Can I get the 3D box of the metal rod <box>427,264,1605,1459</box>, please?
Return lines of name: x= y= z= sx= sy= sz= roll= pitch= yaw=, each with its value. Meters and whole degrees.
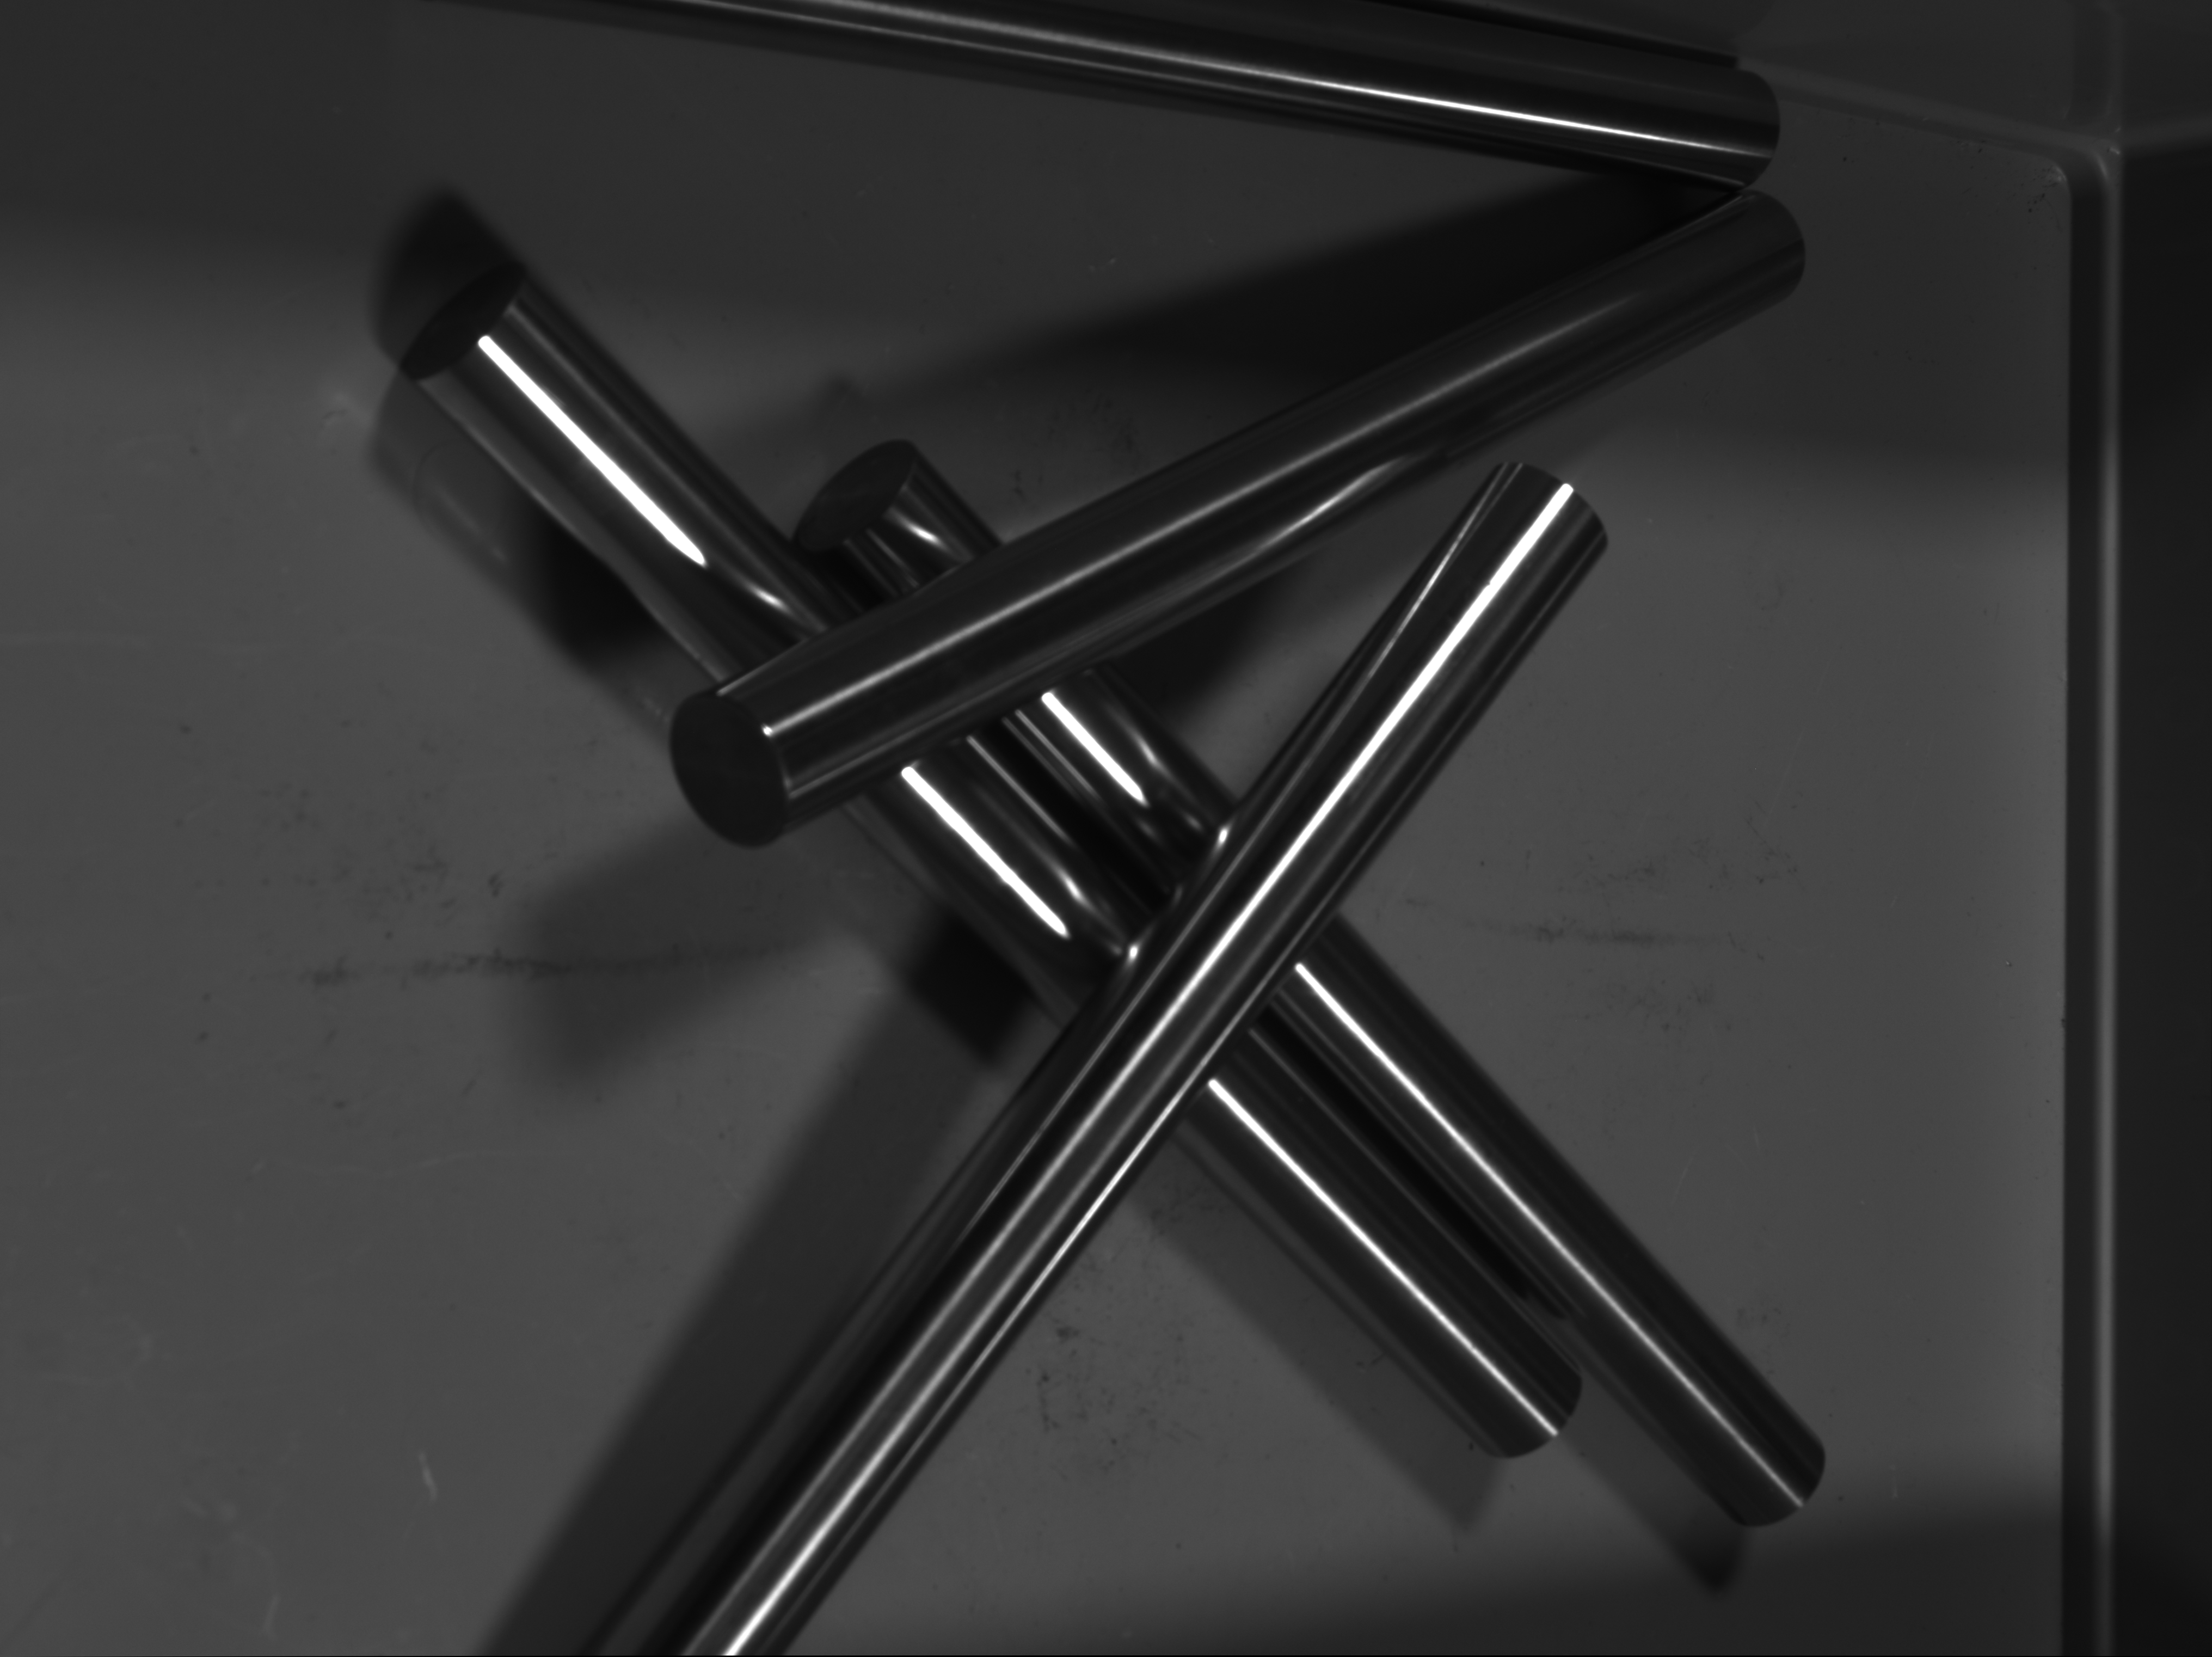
metal rod: x=-0.004 y=0.017 z=0.633 sx=0.301 sy=0.025 sz=0.025 roll=46 pitch=62 yaw=-30

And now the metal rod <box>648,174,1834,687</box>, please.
metal rod: x=0.039 y=-0.078 z=0.650 sx=0.301 sy=0.025 sz=0.025 roll=-24 pitch=105 yaw=-43

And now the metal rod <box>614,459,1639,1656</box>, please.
metal rod: x=-0.003 y=0.055 z=0.607 sx=0.300 sy=0.025 sz=0.025 roll=-52 pitch=121 yaw=-18

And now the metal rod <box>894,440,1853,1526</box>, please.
metal rod: x=0.053 y=0.039 z=0.681 sx=0.301 sy=0.025 sz=0.025 roll=46 pitch=62 yaw=-30

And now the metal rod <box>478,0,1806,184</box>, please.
metal rod: x=0.018 y=-0.141 z=0.651 sx=0.301 sy=0.025 sz=0.025 roll=-1 pitch=91 yaw=-40
